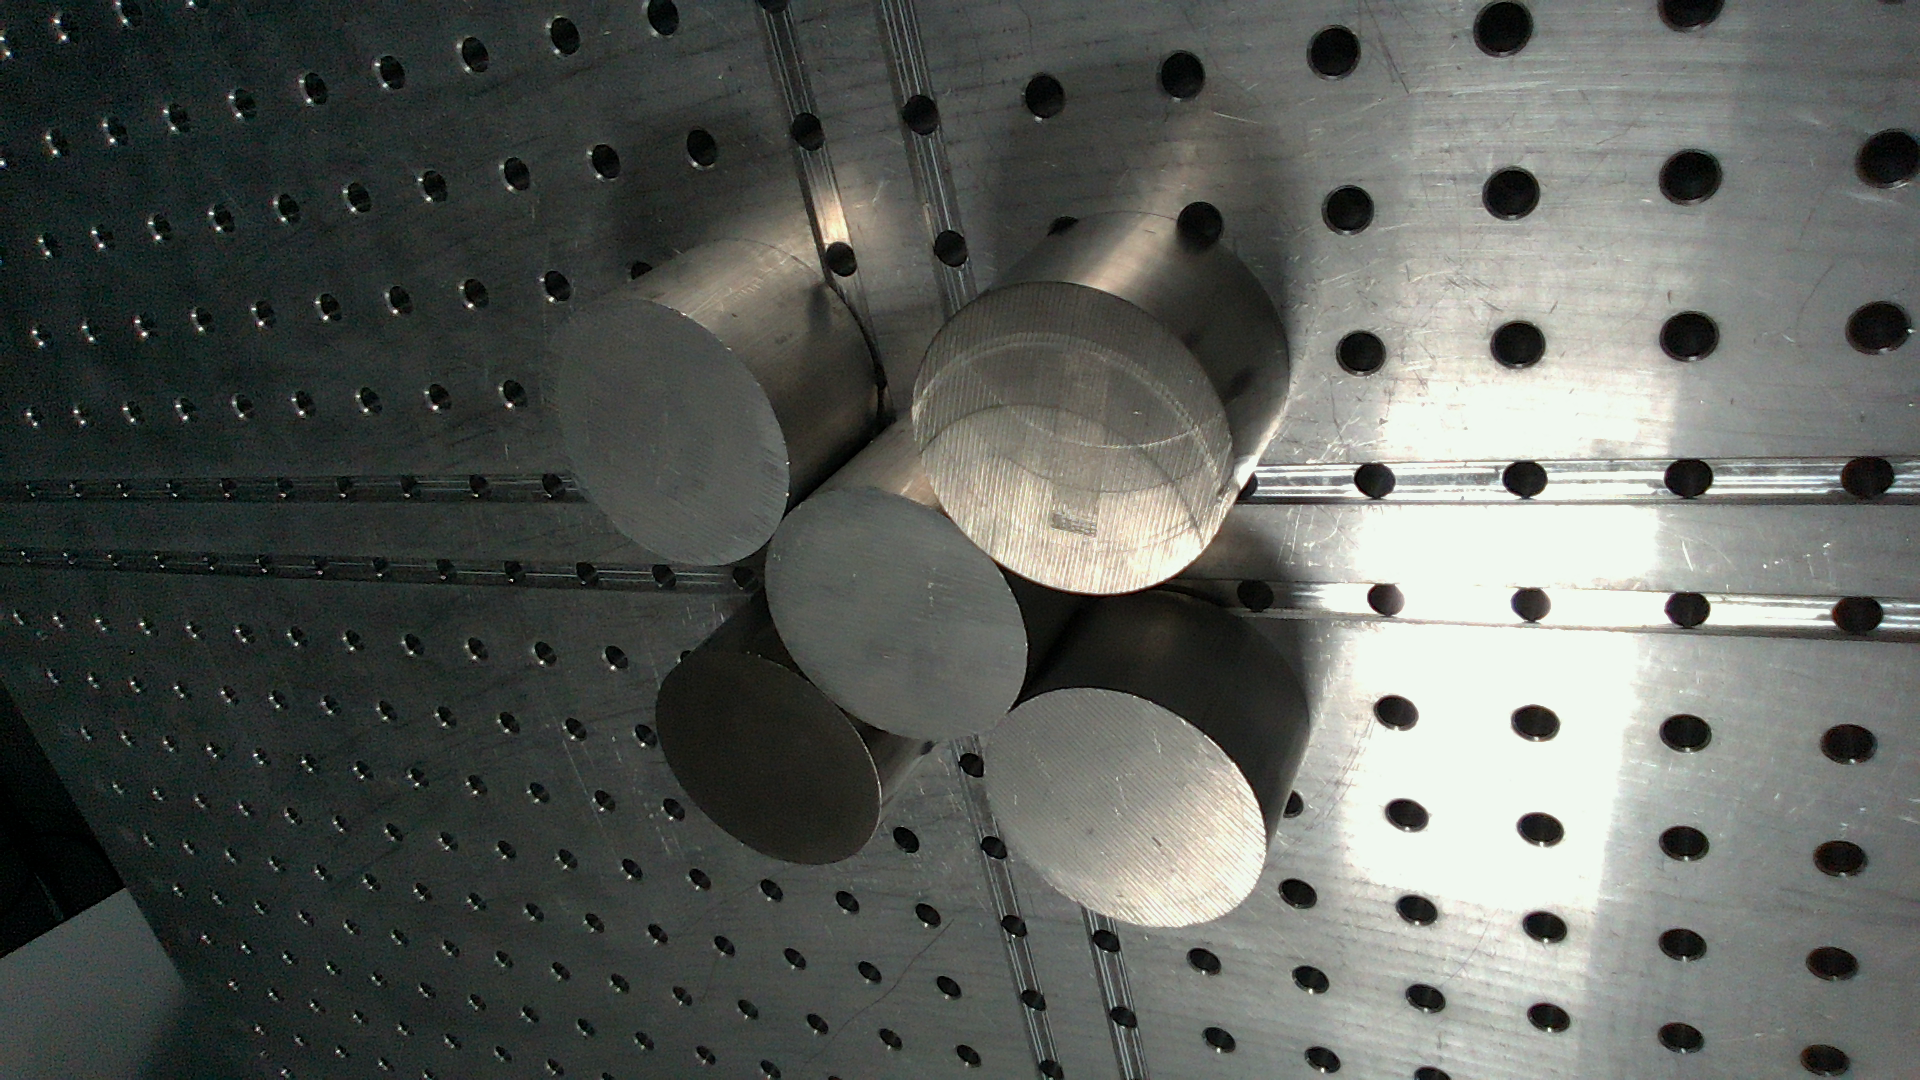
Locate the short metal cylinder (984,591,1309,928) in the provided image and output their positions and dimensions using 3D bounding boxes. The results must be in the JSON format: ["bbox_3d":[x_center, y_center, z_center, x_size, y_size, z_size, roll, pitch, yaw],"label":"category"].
[{"bbox_3d":[0.053,0.061,0.388,0.080,0.050,0.080,13,124,21],"label":"short metal cylinder"}]

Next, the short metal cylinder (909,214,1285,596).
[{"bbox_3d":[0.035,-0.033,0.338,0.080,0.050,0.080,13,124,21],"label":"short metal cylinder"}]

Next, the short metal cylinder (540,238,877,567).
[{"bbox_3d":[-0.071,-0.040,0.393,0.080,0.050,0.080,13,124,21],"label":"short metal cylinder"}]

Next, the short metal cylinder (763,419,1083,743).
[{"bbox_3d":[-0.008,0.010,0.390,0.080,0.050,0.080,13,124,21],"label":"short metal cylinder"}]

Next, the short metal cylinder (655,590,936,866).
[{"bbox_3d":[-0.049,0.056,0.440,0.080,0.050,0.080,13,124,21],"label":"short metal cylinder"}]
